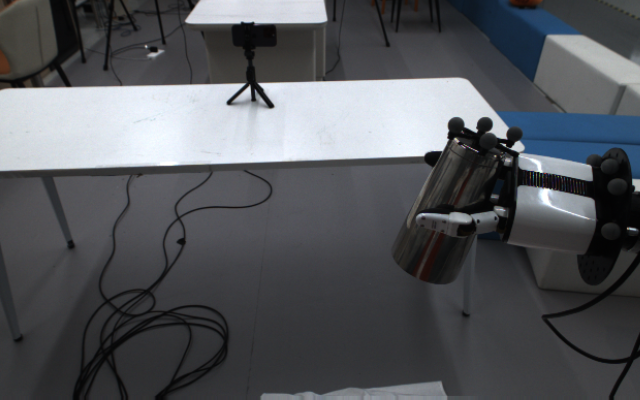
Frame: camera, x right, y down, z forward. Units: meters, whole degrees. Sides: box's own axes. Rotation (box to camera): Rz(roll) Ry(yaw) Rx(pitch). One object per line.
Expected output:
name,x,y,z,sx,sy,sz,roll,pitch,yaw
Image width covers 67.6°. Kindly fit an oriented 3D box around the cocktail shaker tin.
cocktail shaker tin,0.161,0.006,0.591,0.093,0.170,0.093,12,29,-7
